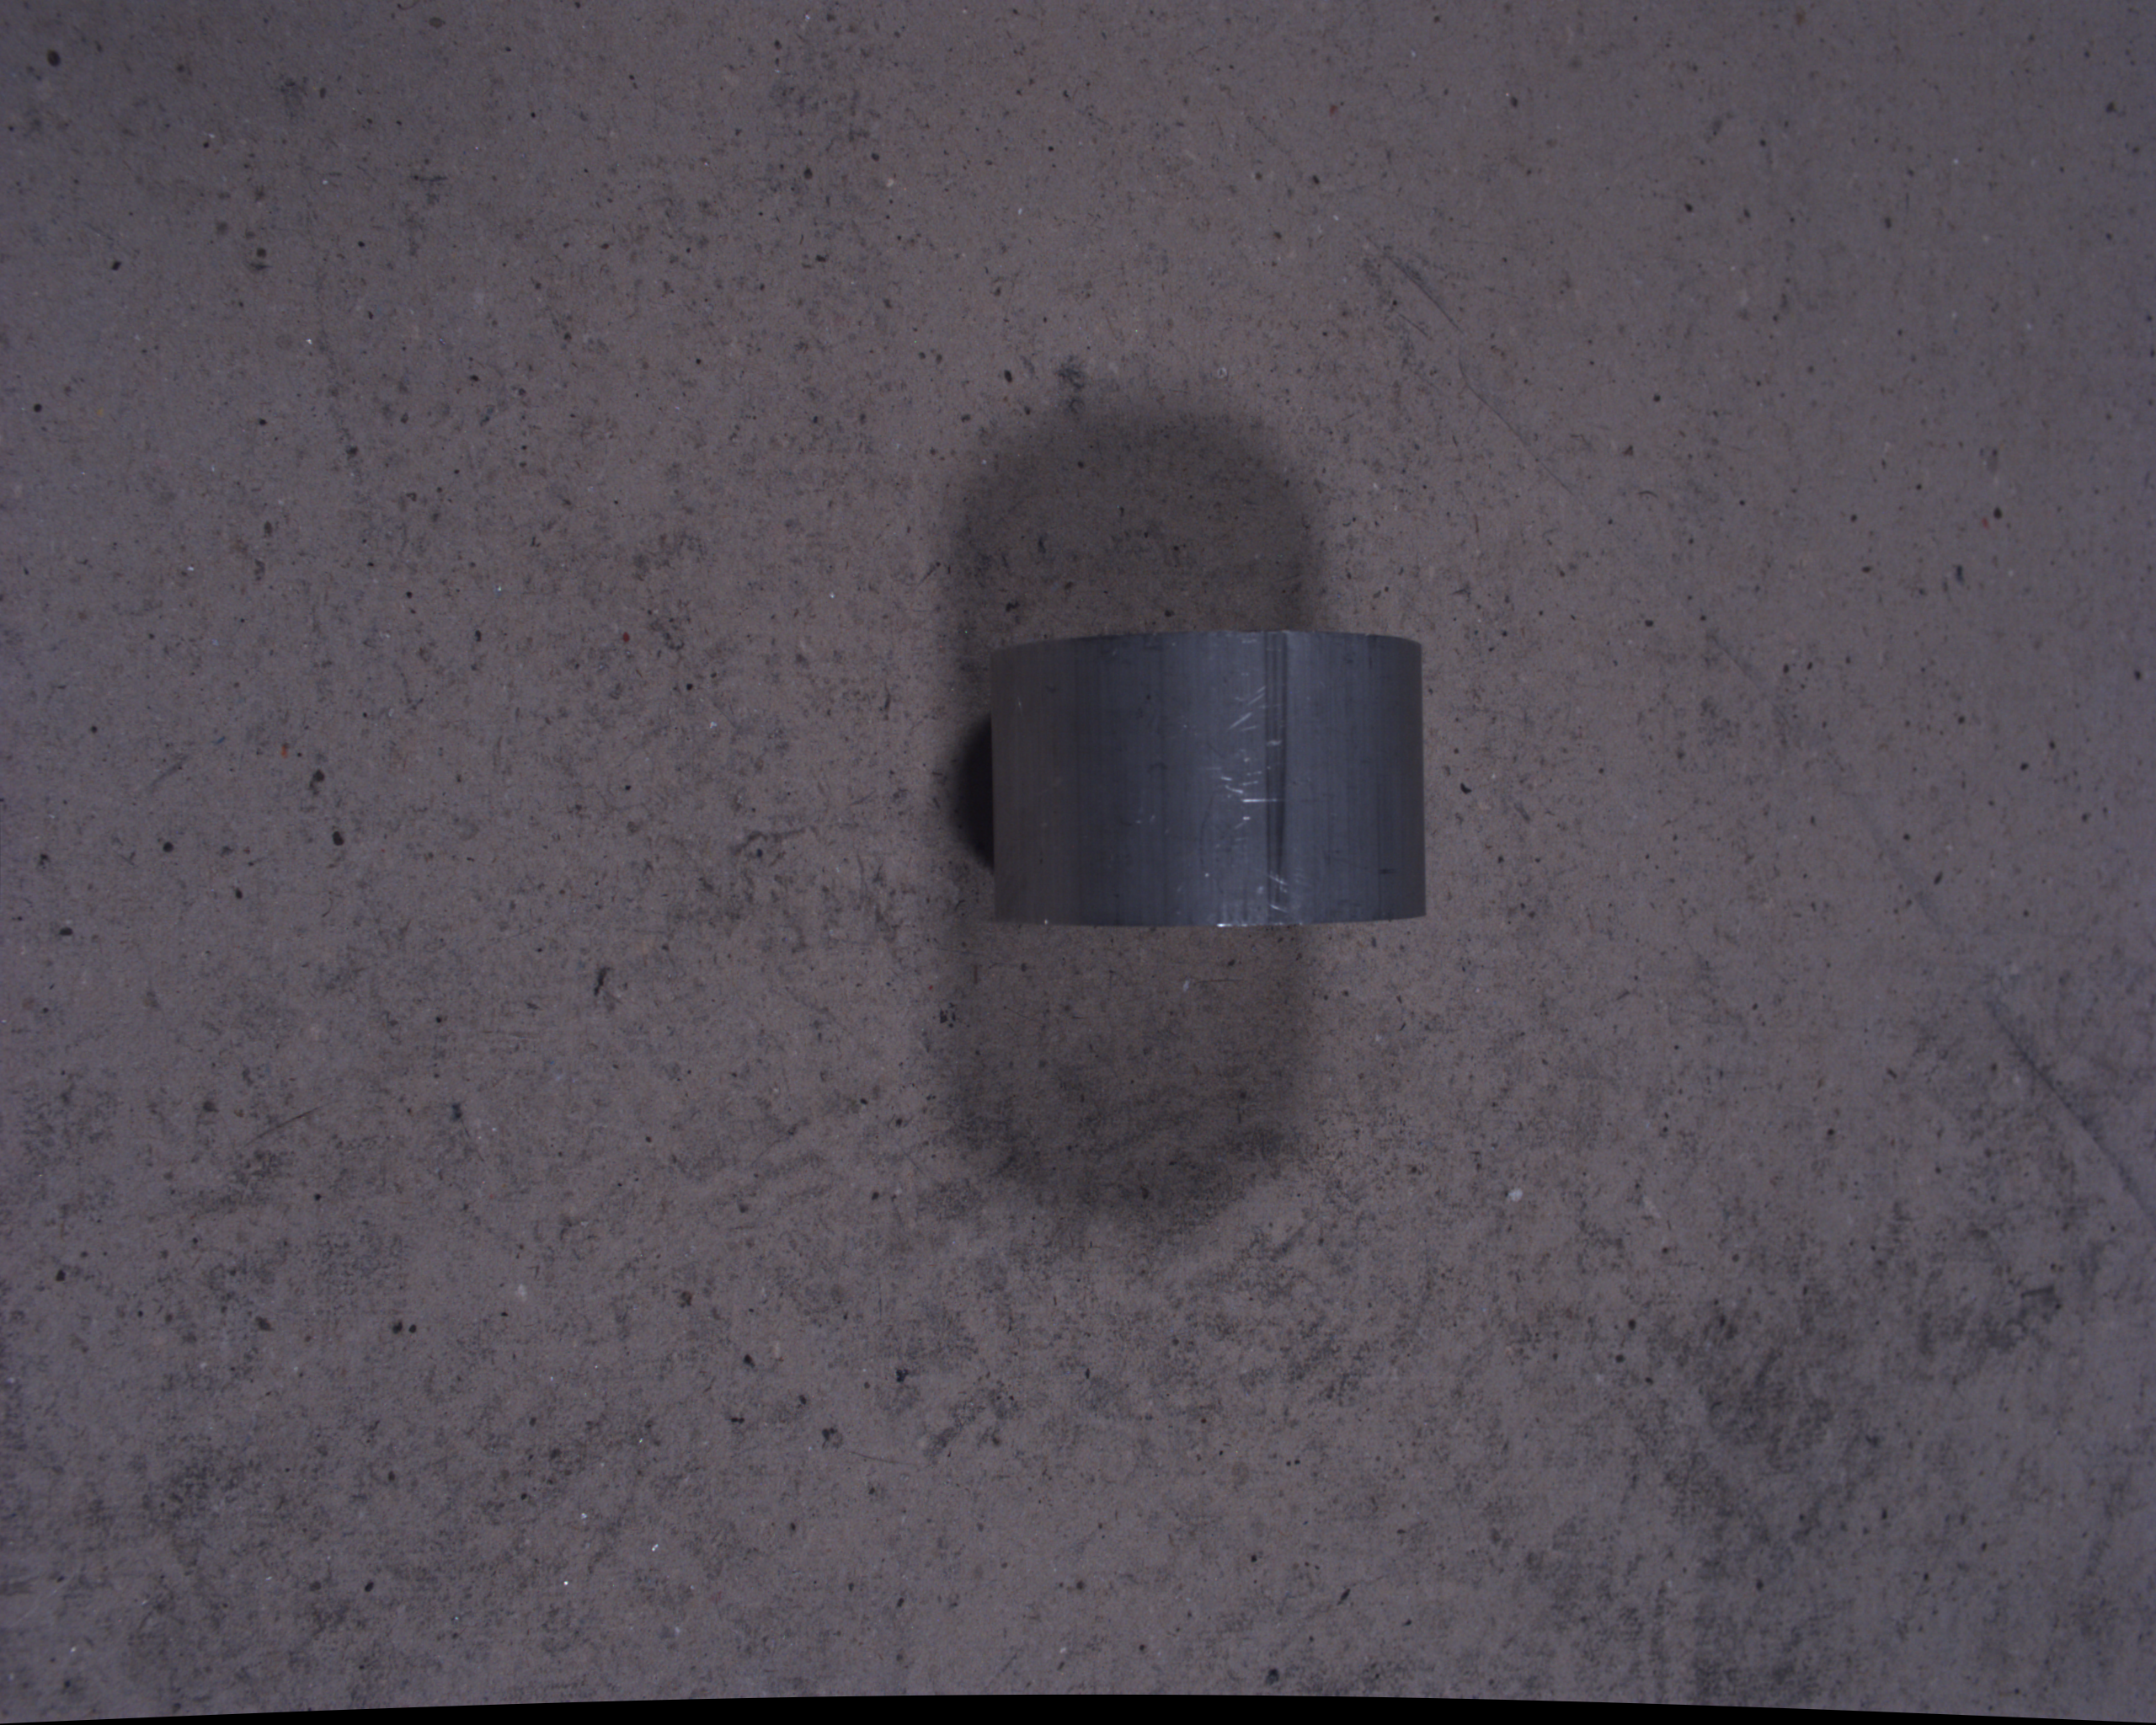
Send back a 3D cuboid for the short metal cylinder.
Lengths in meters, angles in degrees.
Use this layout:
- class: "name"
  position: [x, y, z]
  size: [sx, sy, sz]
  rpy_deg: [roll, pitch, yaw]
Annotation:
- class: "short metal cylinder"
  position: [0.024, -0.015, 0.391]
  size: [0.081, 0.080, 0.050]
  rpy_deg: [-1, 91, -20]
